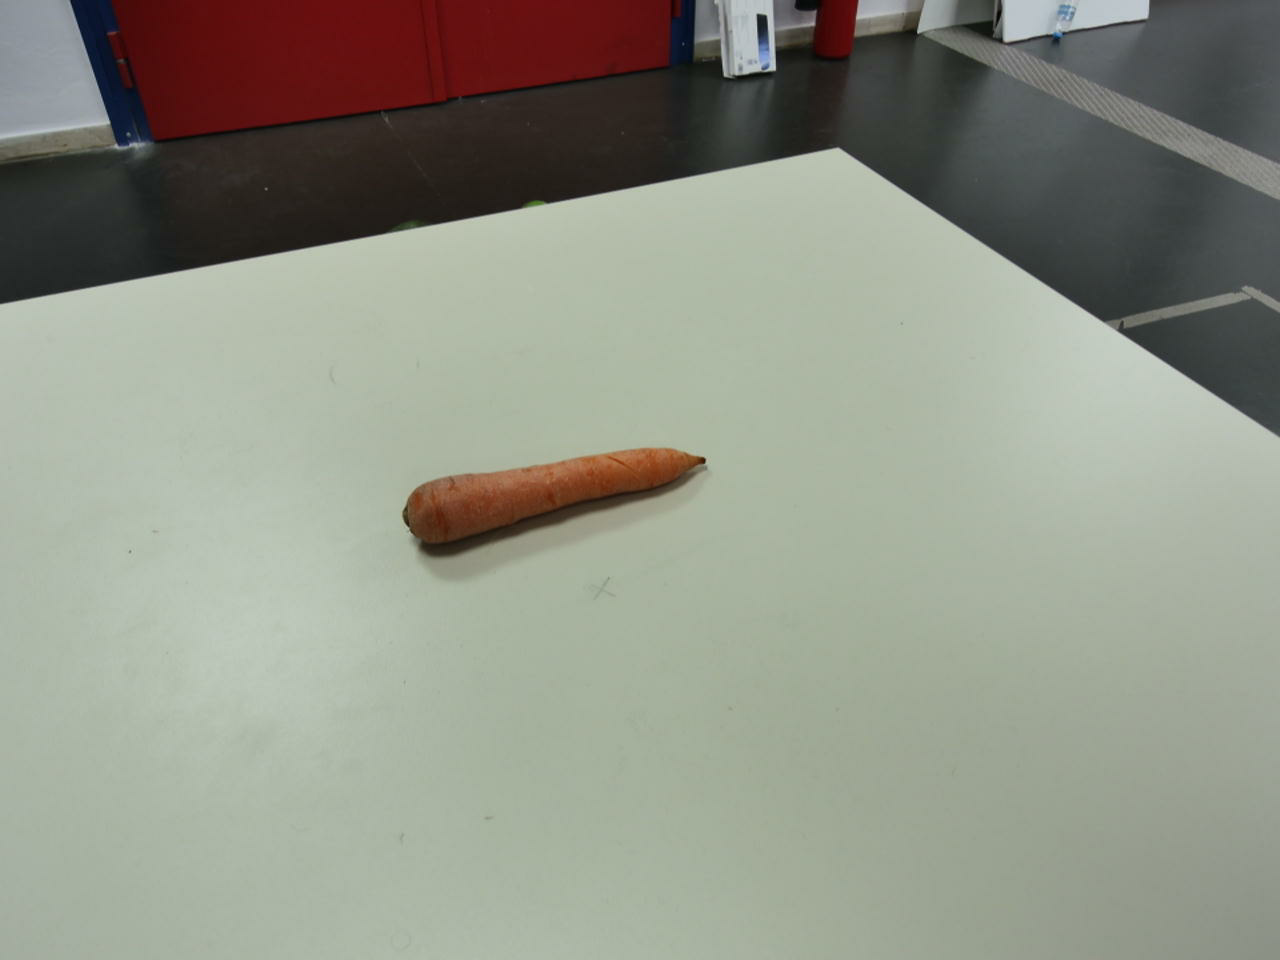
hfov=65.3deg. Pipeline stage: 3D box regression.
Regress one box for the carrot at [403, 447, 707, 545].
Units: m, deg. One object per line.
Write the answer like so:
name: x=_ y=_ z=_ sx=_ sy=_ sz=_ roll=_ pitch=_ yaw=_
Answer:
carrot: x=-0.048 y=0.000 z=0.613 sx=0.196 sy=0.041 sz=0.039 roll=-15 pitch=42 yaw=-19
